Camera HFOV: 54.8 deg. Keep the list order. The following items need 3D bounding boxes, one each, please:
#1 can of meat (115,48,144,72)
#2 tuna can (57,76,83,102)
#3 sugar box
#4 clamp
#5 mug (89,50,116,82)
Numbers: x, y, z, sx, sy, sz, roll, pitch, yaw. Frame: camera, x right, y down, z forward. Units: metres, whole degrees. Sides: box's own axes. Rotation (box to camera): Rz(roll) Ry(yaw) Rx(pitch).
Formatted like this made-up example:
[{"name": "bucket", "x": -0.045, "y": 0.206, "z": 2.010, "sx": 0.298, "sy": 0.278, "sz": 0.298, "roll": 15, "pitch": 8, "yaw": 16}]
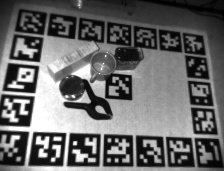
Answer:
[{"name": "can of meat", "x": 0.057, "y": -0.093, "z": 0.798, "sx": 0.102, "sy": 0.083, "sz": 0.057, "roll": -3, "pitch": 71, "yaw": -14}, {"name": "tuna can", "x": -0.143, "y": 0.013, "z": 0.739, "sx": 0.086, "sy": 0.033, "sz": 0.085, "roll": 4, "pitch": 73, "yaw": -11}, {"name": "sugar box", "x": -0.133, "y": -0.077, "z": 0.745, "sx": 0.177, "sy": 0.092, "sz": 0.045, "roll": -33, "pitch": 79, "yaw": -21}, {"name": "clamp", "x": -0.069, "y": 0.073, "z": 0.741, "sx": 0.165, "sy": 0.036, "sz": 0.122, "roll": 40, "pitch": 64, "yaw": -3}, {"name": "mug", "x": -0.042, "y": -0.056, "z": 0.756, "sx": 0.093, "sy": 0.081, "sz": 0.117, "roll": 29, "pitch": 70, "yaw": -2}]
